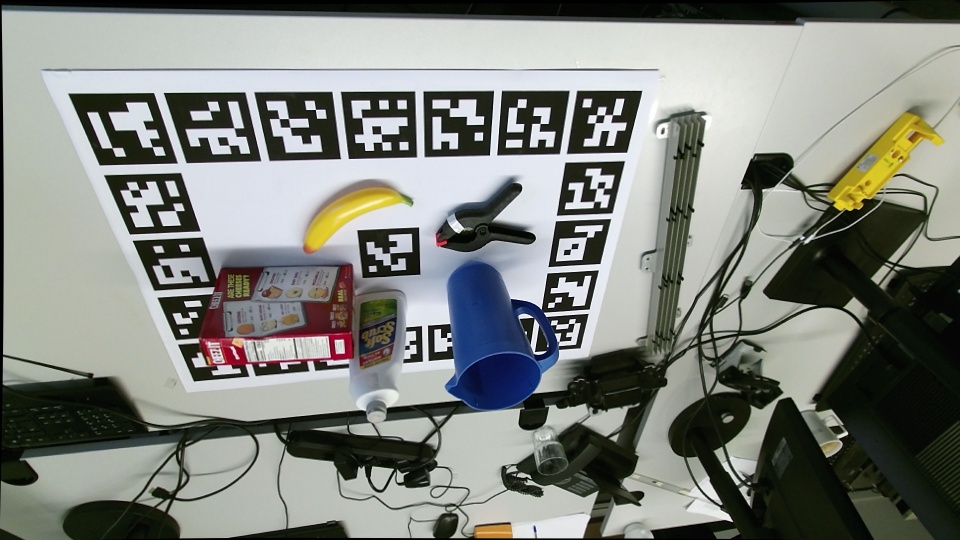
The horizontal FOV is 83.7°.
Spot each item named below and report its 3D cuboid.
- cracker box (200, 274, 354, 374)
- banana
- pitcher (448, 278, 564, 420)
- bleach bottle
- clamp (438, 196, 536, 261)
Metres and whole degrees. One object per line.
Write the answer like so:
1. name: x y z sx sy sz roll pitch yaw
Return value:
1. cracker box: -0.313 0.084 0.861 0.214 0.163 0.072 -3 131 -12
2. banana: -0.210 -0.069 0.870 0.198 0.038 0.074 -30 128 12
3. pitcher: 0.030 0.123 0.903 0.189 0.241 0.133 -16 130 4
4. bleach bottle: -0.161 0.152 0.912 0.103 0.249 0.068 -3 129 -10
5. clamp: 0.007 -0.056 0.916 0.166 0.036 0.122 -15 131 2
